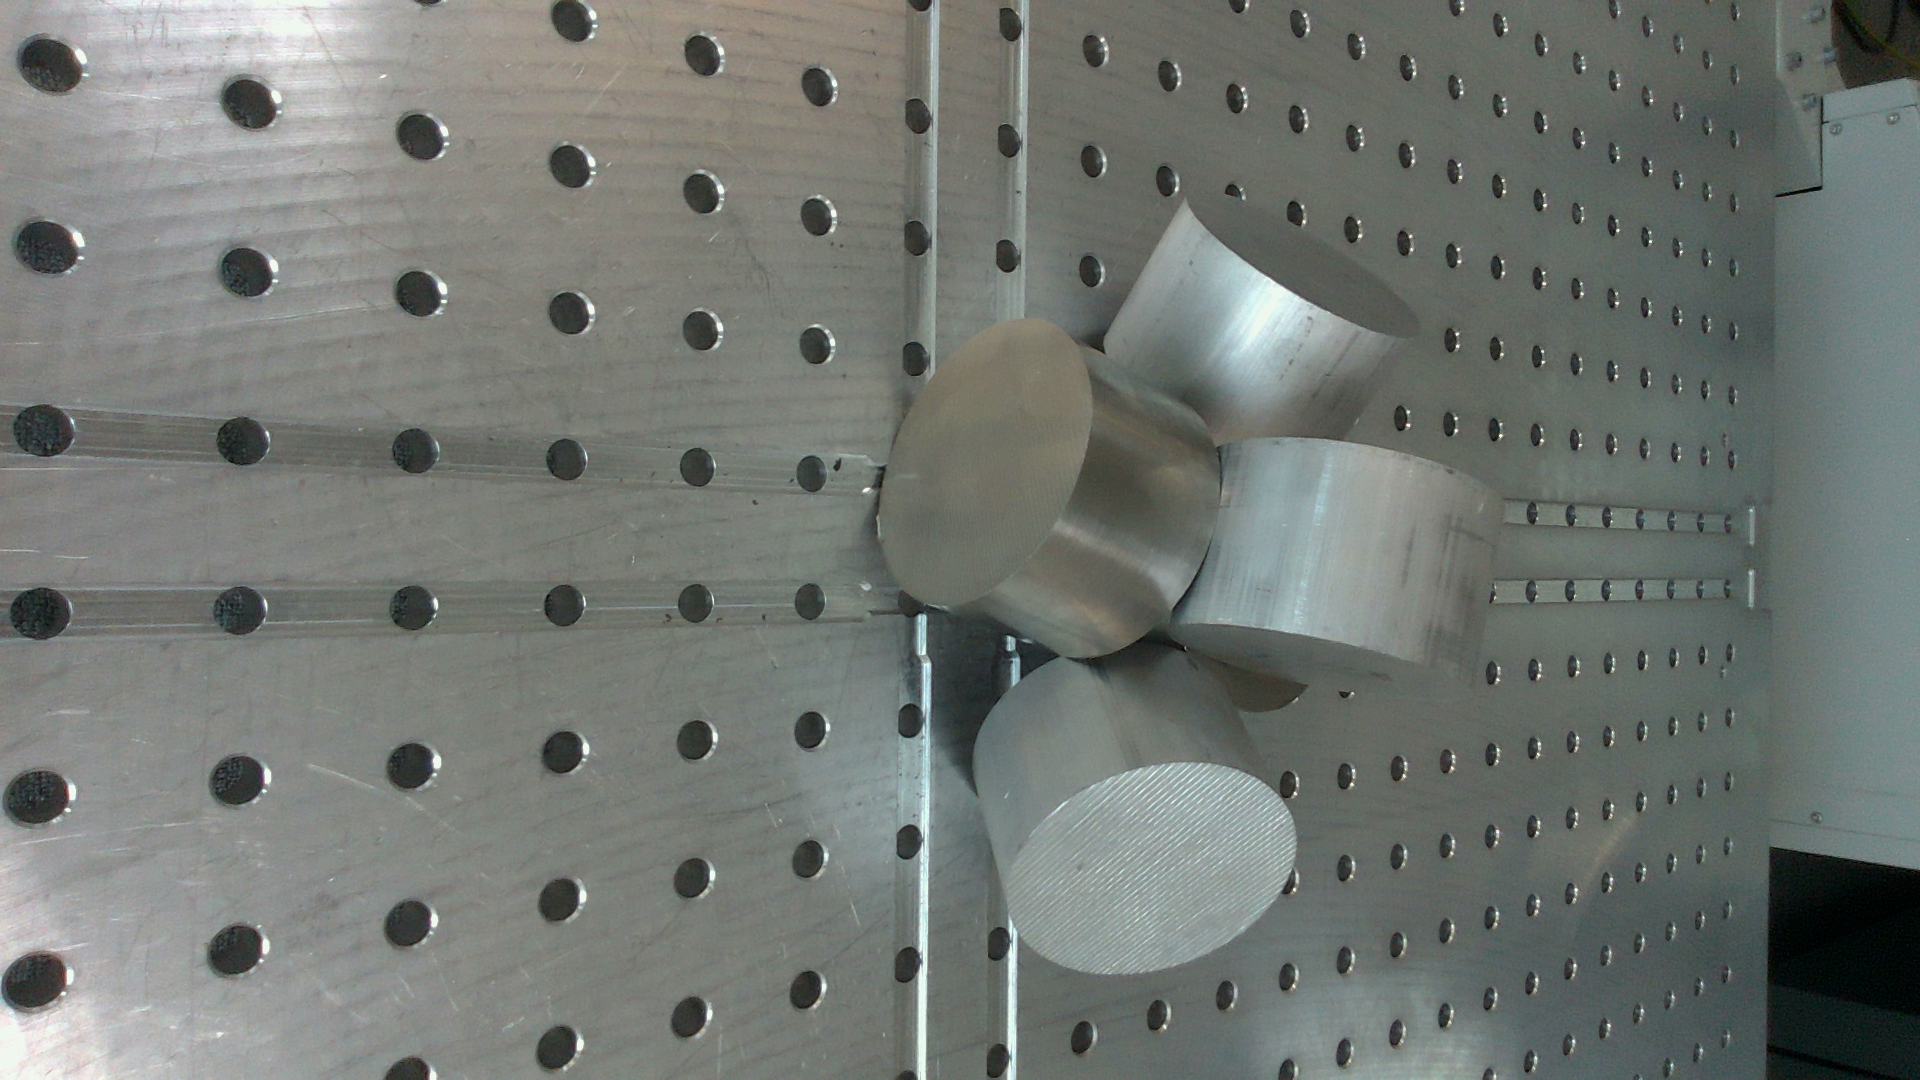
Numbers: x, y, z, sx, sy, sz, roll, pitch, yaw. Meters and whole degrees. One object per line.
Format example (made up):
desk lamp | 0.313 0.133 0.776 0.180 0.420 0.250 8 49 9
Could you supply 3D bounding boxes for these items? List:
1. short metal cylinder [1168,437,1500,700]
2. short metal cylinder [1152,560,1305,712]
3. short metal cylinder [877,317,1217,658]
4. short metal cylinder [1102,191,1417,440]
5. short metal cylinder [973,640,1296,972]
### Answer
short metal cylinder | 0.101 0.009 0.375 0.080 0.080 0.050 22 76 -38
short metal cylinder | 0.076 0.013 0.438 0.080 0.050 0.080 1 88 -39
short metal cylinder | 0.022 -0.013 0.375 0.050 0.080 0.080 24 75 -37
short metal cylinder | 0.091 -0.064 0.423 0.080 0.080 0.050 3 128 -40
short metal cylinder | 0.047 0.075 0.388 0.080 0.050 0.080 -6 125 -8
